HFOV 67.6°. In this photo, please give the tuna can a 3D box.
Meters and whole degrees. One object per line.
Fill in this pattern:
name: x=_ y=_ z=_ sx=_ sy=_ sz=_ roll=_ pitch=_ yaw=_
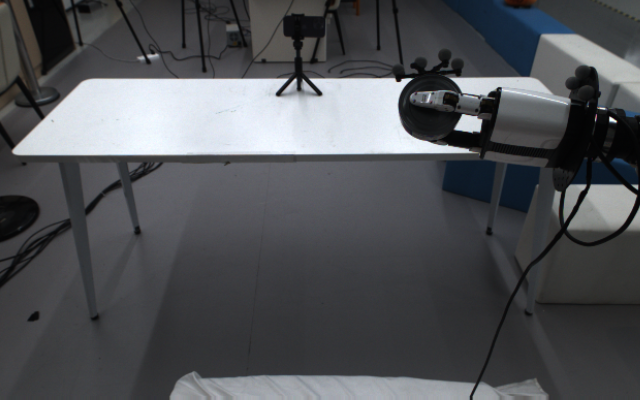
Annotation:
tuna can: x=0.150 y=-0.127 z=0.659 sx=0.085 sy=0.085 sz=0.034 roll=10 pitch=-7 yaw=12
